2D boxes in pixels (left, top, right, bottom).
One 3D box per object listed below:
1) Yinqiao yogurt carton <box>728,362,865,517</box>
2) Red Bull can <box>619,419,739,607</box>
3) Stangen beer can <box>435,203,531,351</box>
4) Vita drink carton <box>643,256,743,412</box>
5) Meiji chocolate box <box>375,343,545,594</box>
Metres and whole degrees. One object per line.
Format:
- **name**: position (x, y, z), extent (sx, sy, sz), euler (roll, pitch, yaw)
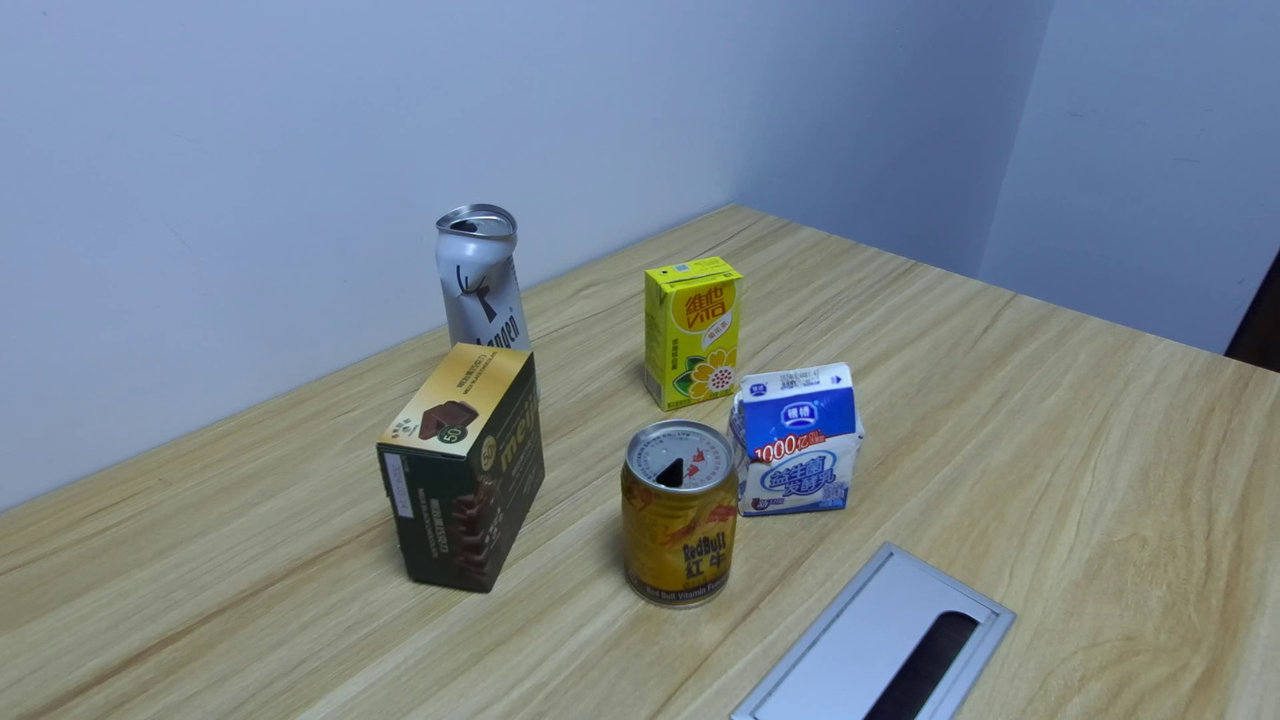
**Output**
- **Yinqiao yogurt carton**: position (0.103, 0.043, 0.473), extent (0.083, 0.093, 0.077), euler (-4, 34, -3)
- **Red Bull can**: position (0.022, 0.089, 0.409), extent (0.069, 0.092, 0.069), euler (0, 33, 0)
- **Stangen beer can**: position (-0.114, -0.031, 0.532), extent (0.066, 0.162, 0.076), euler (-16, 38, -21)
- **Vita drink carton**: position (0.041, -0.021, 0.557), extent (0.067, 0.109, 0.043), euler (-13, 35, -19)
- **Meiji chocolate box**: position (-0.104, 0.064, 0.438), extent (0.056, 0.109, 0.110), euler (6, 34, 10)
